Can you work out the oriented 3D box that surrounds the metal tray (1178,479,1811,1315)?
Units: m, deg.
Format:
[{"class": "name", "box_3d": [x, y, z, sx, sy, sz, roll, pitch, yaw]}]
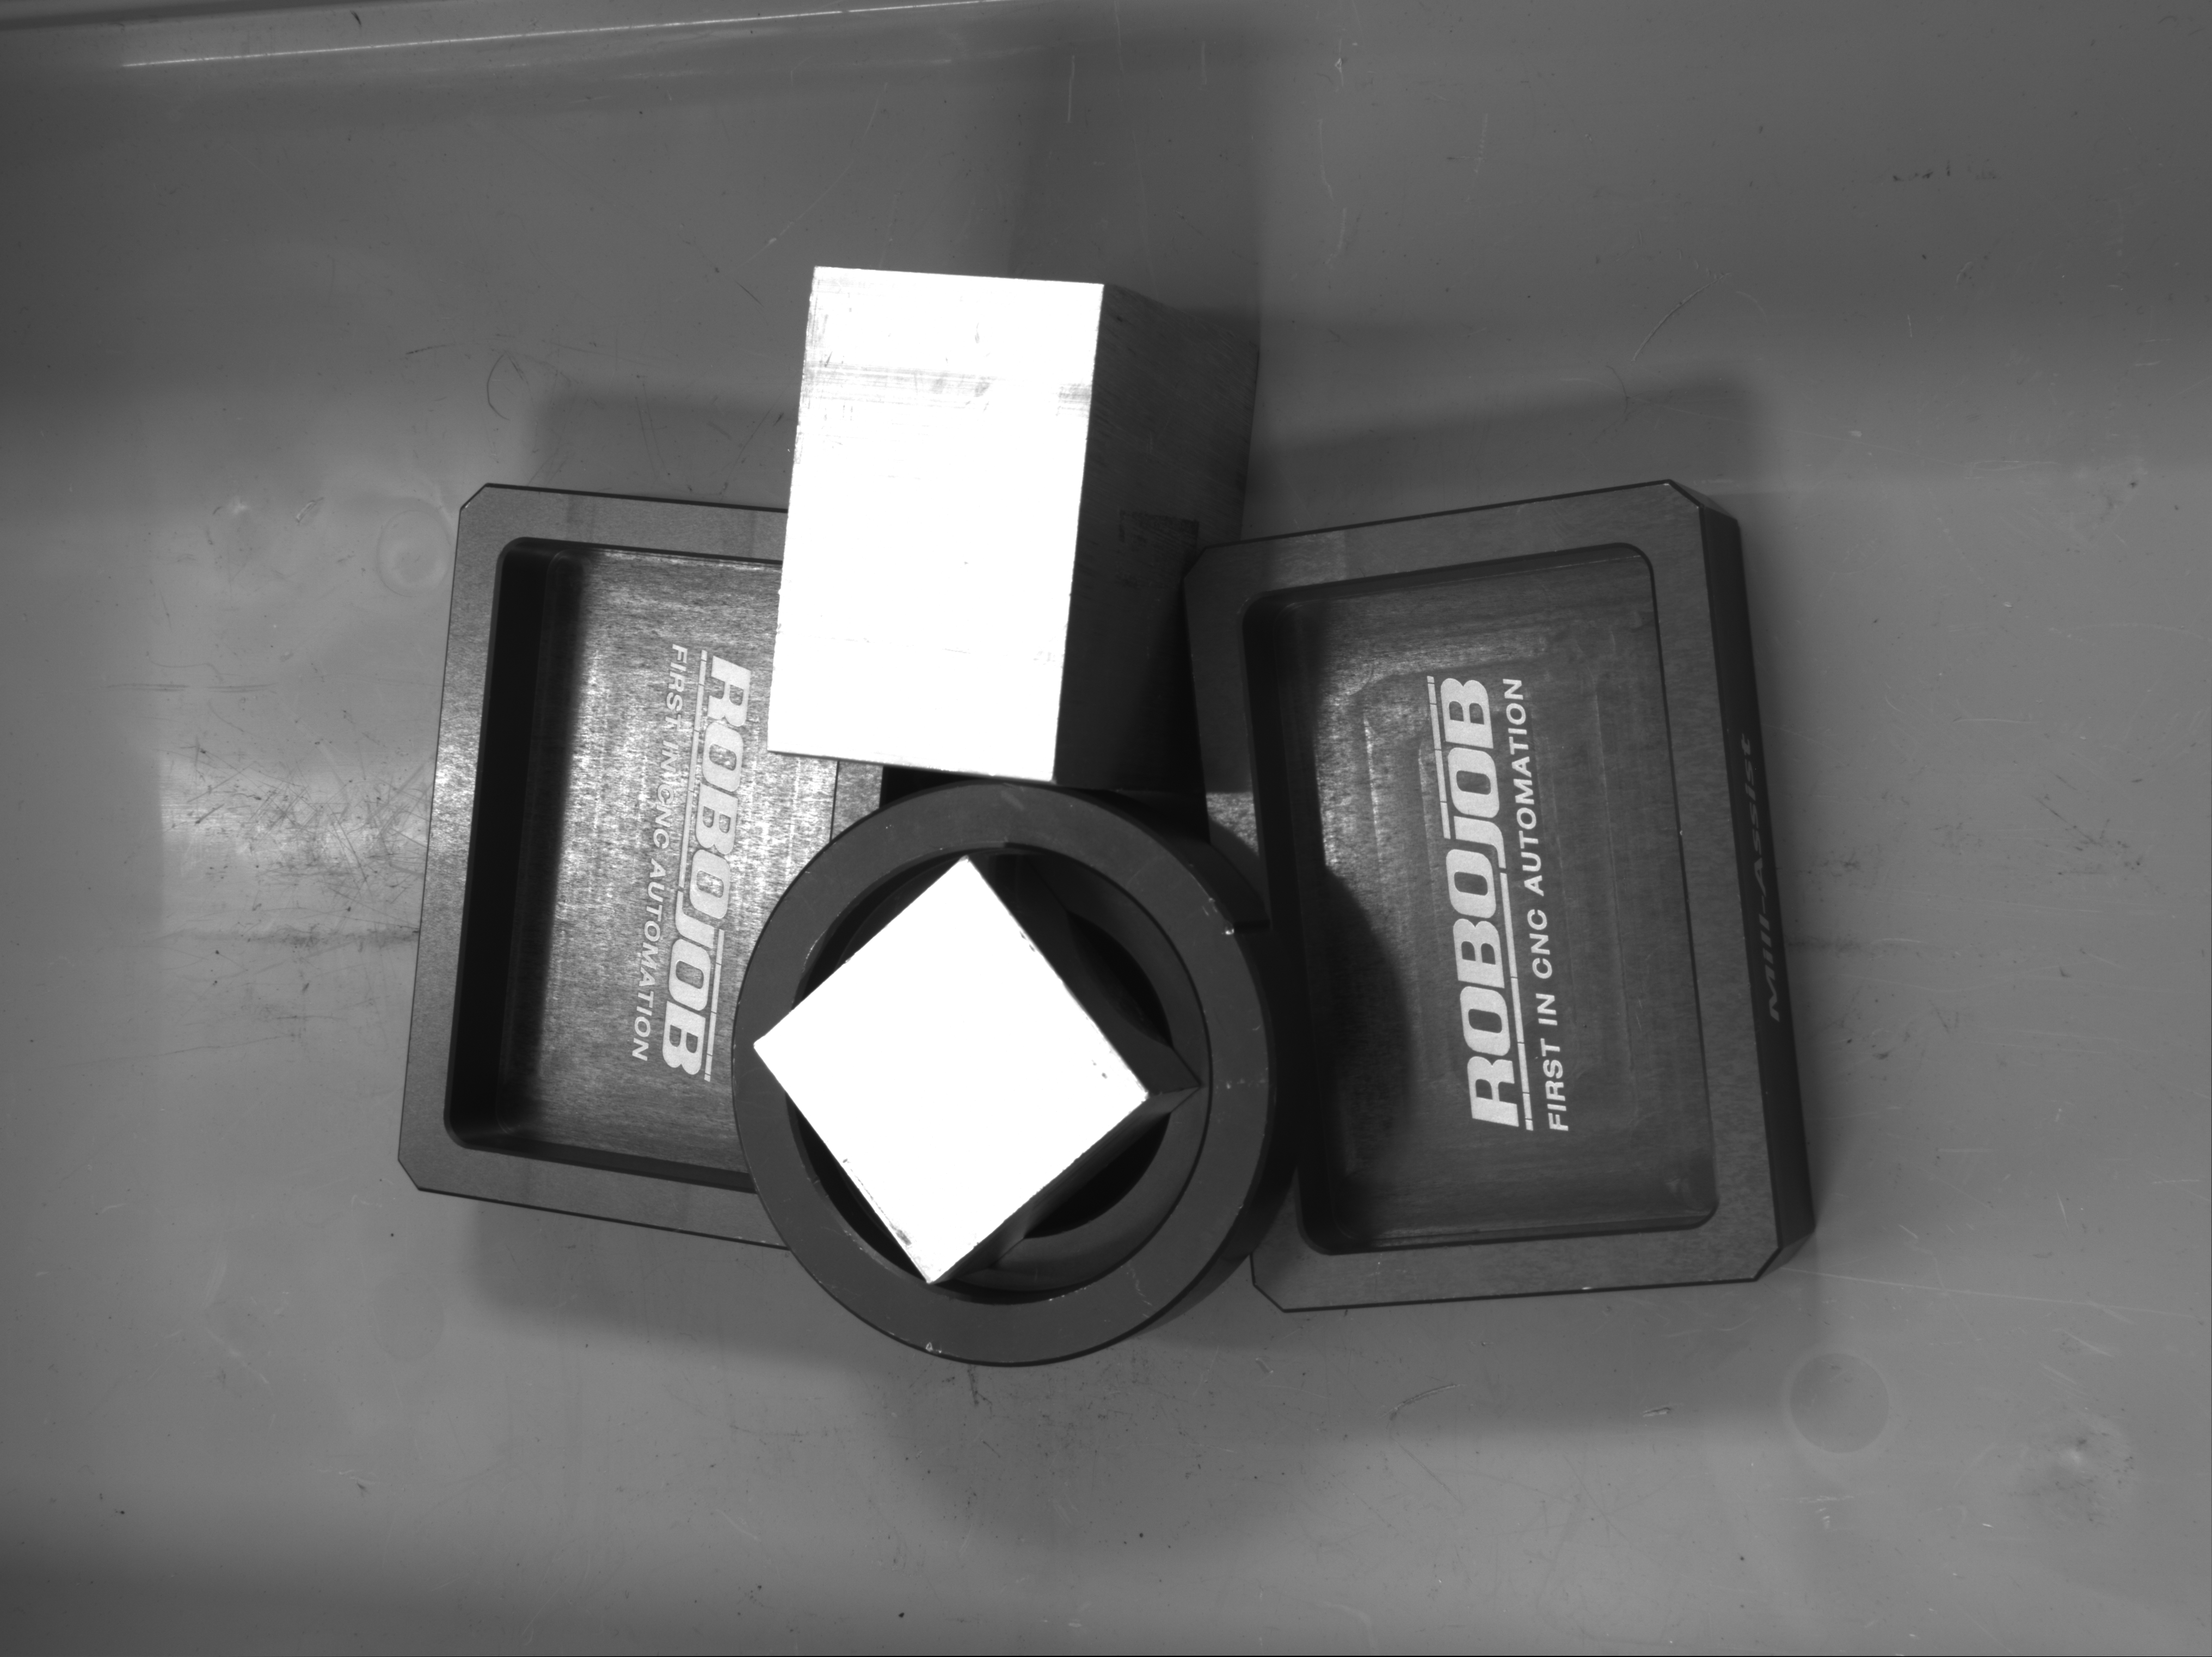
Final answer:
[{"class": "metal tray", "box_3d": [0.065, 0.013, 0.619, 0.090, 0.030, 0.130, -7, 88, 20]}]

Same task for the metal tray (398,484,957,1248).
[{"class": "metal tray", "box_3d": [-0.077, 0.006, 0.670, 0.090, 0.030, 0.130, 7, 92, 20]}]

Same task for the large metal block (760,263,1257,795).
[{"class": "large metal block", "box_3d": [-0.015, -0.048, 0.621, 0.050, 0.080, 0.080, 7, 92, 20]}]

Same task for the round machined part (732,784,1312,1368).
[{"class": "round machined part", "box_3d": [-0.011, 0.041, 0.630, 0.098, 0.042, 0.098, 0, 90, 20]}]

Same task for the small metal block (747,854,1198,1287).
[{"class": "small metal block", "box_3d": [-0.022, 0.039, 0.608, 0.050, 0.025, 0.050, -41, 77, 15]}]
